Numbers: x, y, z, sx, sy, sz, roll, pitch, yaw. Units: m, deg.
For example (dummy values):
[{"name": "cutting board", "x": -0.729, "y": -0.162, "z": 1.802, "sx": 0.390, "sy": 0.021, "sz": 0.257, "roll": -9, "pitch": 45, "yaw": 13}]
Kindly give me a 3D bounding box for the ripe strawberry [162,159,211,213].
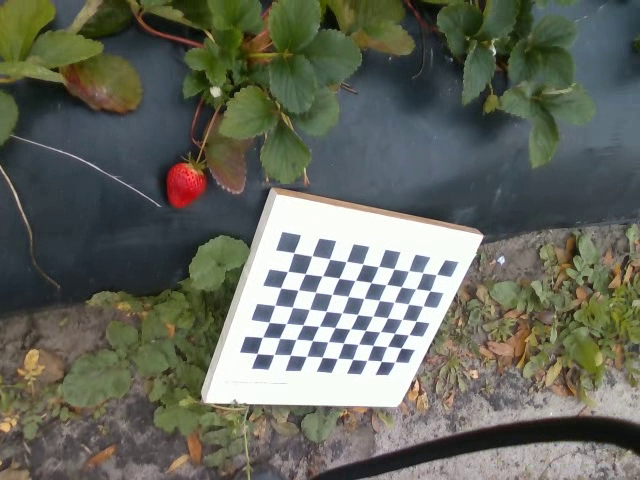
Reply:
[{"name": "ripe strawberry", "x": -0.088, "y": -0.034, "z": 0.398, "sx": 0.028, "sy": 0.033, "sz": 0.023, "roll": 28, "pitch": 11, "yaw": -29}]
